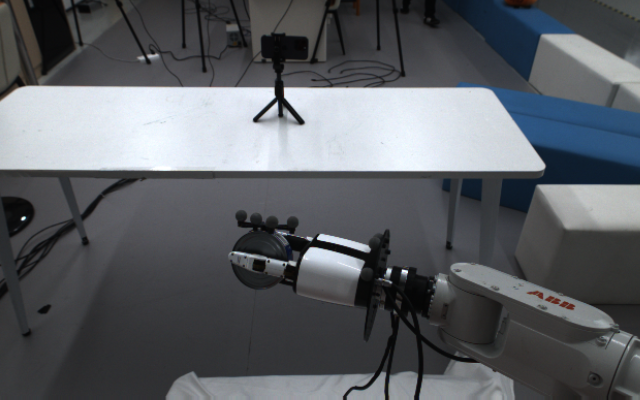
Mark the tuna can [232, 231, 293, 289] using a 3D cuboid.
[{"bbox_3d":[-0.083,0.085,0.704,0.085,0.085,0.034,12,2,14],"label":"tuna can"}]
